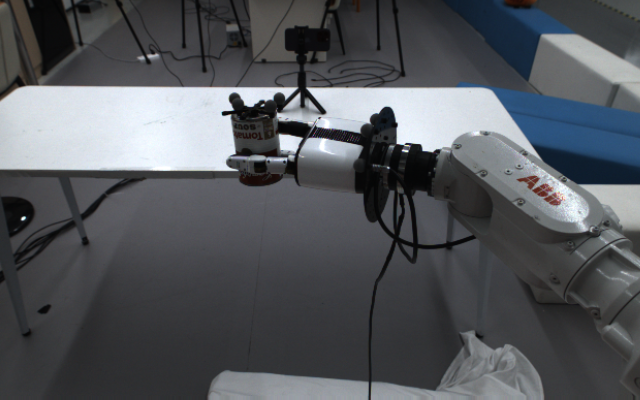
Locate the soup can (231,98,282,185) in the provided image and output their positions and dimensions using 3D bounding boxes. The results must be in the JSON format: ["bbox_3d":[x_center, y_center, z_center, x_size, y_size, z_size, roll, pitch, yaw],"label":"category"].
[{"bbox_3d":[-0.092,-0.079,0.716,0.067,0.101,0.067,-3,26,2],"label":"soup can"}]
